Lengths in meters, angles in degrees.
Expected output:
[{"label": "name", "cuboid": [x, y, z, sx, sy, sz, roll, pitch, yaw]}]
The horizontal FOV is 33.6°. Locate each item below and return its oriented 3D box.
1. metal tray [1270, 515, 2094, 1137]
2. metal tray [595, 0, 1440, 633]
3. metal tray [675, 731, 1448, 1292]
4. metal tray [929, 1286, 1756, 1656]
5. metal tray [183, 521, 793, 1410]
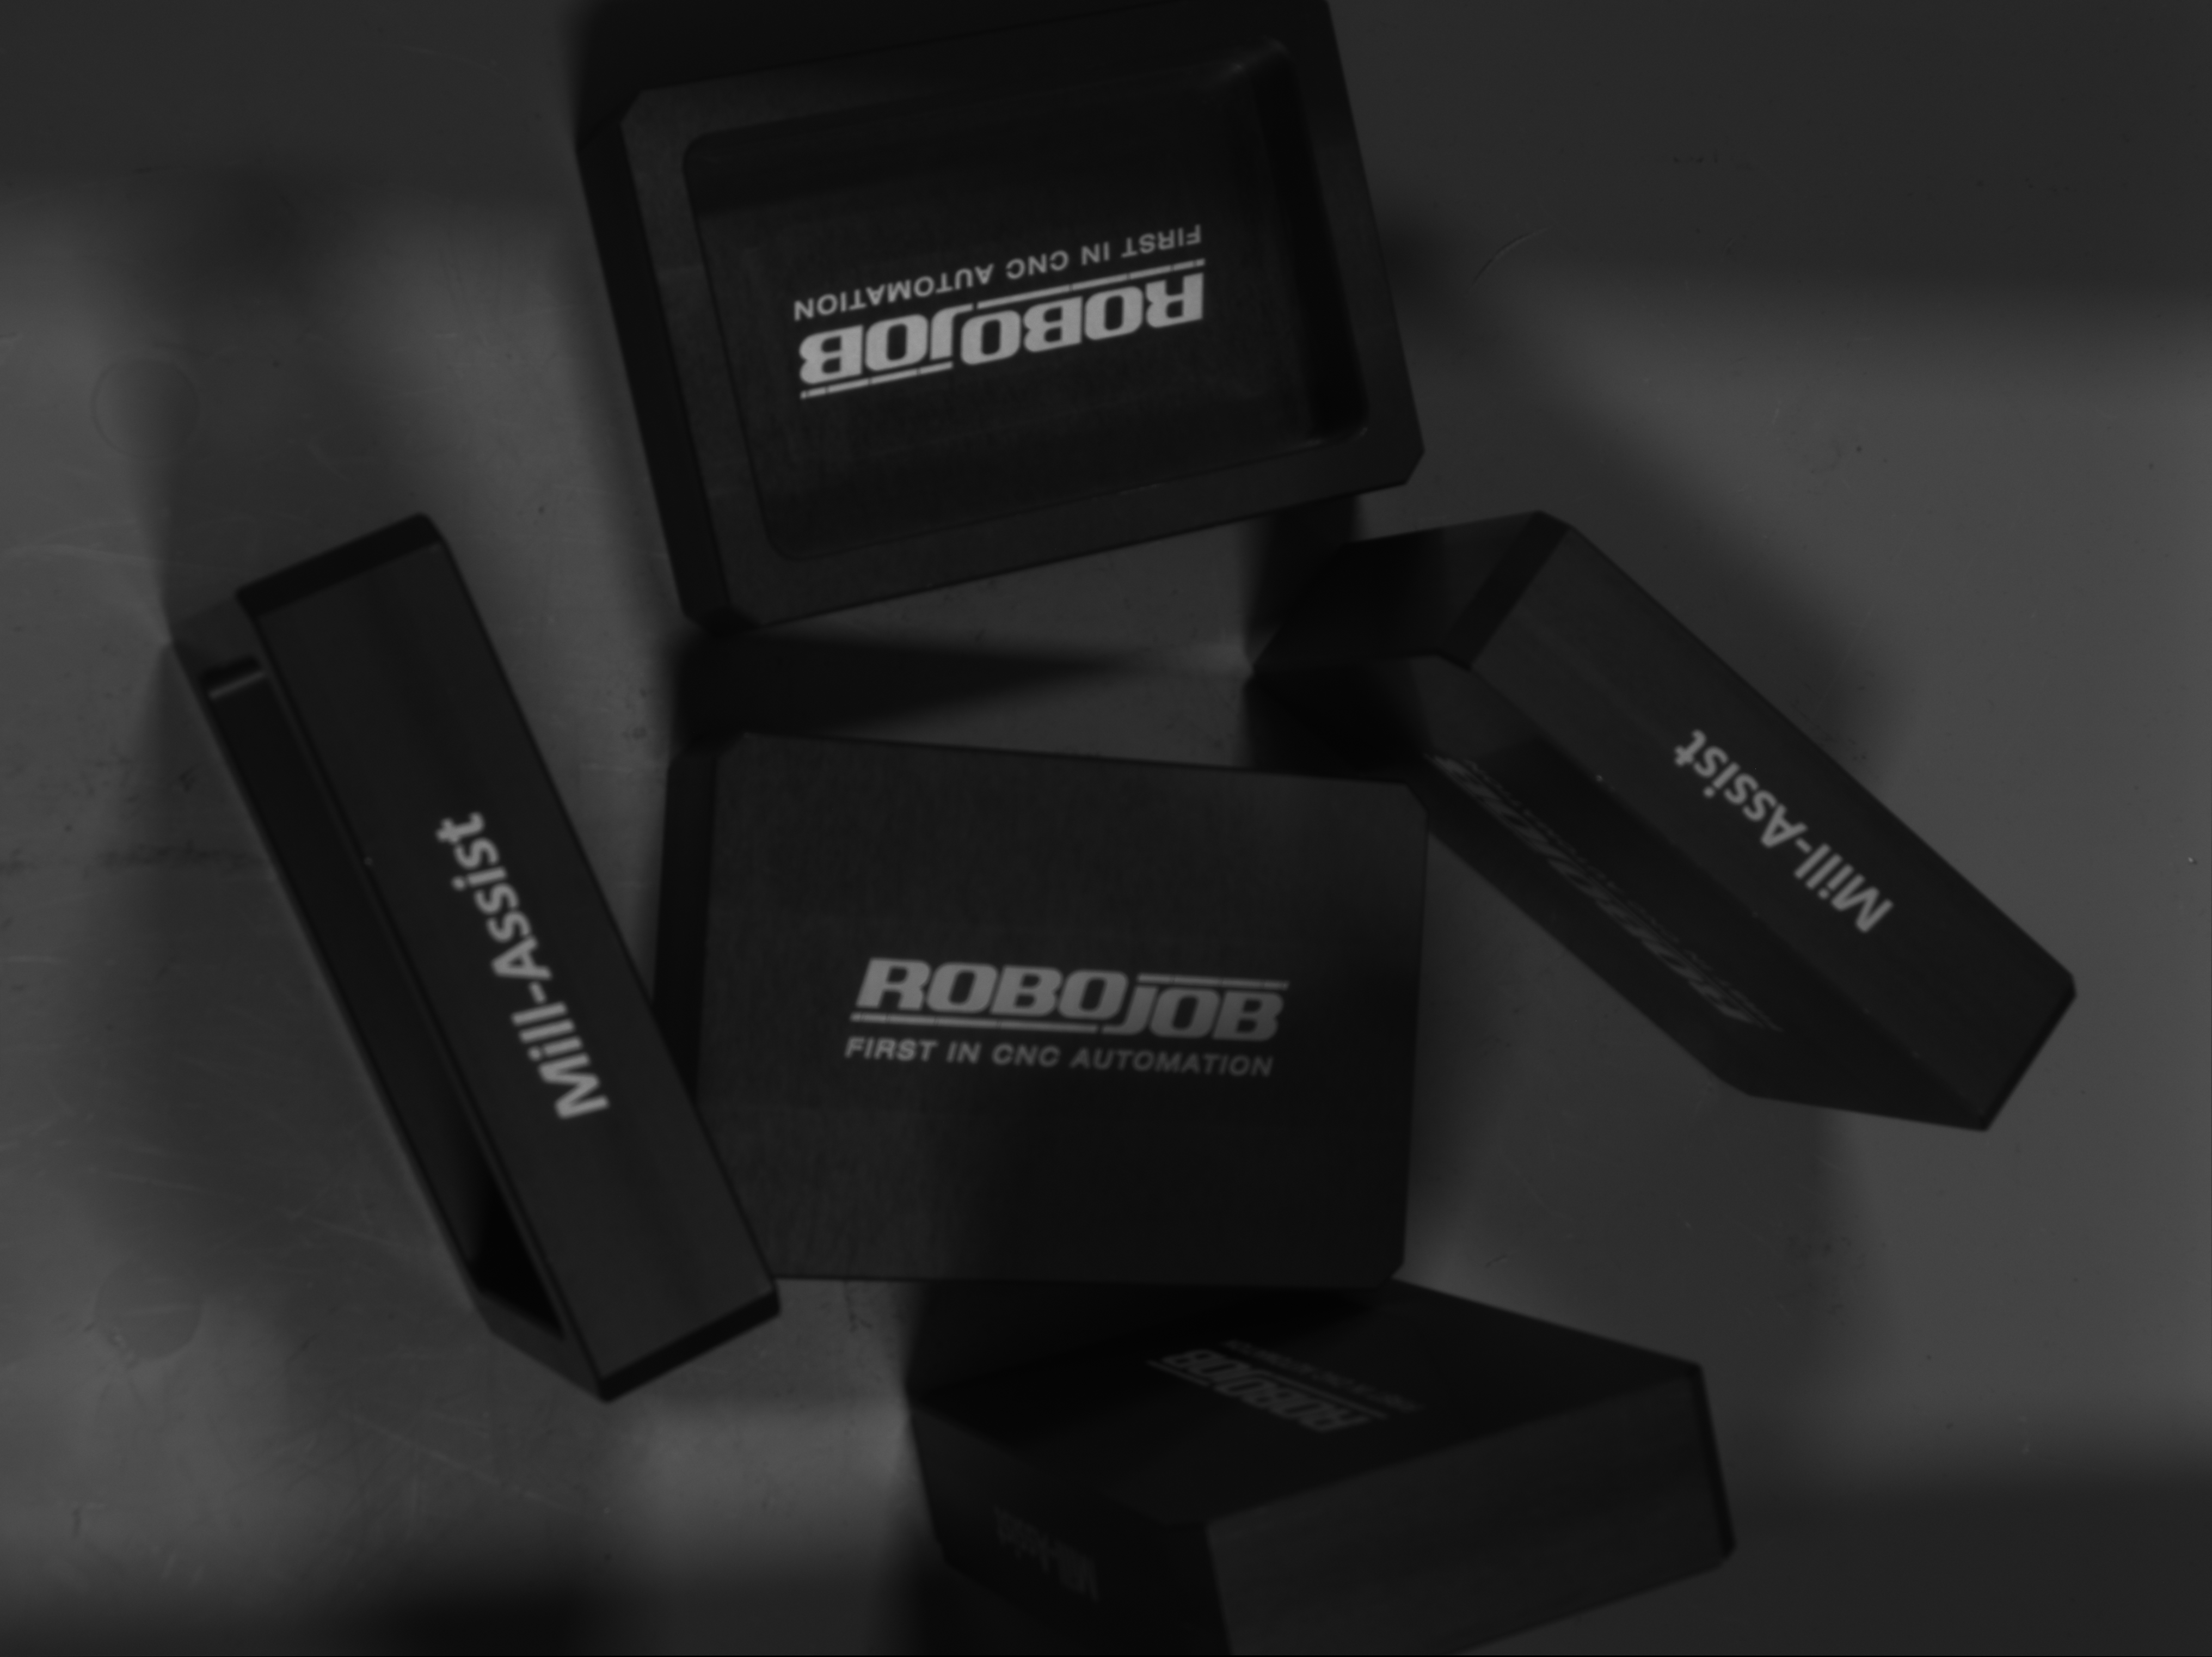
[{"label": "metal tray", "cuboid": [0.099, 0.000, 0.643, 0.130, 0.090, 0.030, 40, 78, -15]}, {"label": "metal tray", "cuboid": [-0.014, -0.091, 0.634, 0.130, 0.030, 0.090, -14, 95, -19]}, {"label": "metal tray", "cuboid": [-0.008, 0.033, 0.635, 0.130, 0.030, 0.090, 4, 89, -20]}, {"label": "metal tray", "cuboid": [0.034, 0.106, 0.597, 0.090, 0.130, 0.030, -13, 95, -20]}, {"label": "metal tray", "cuboid": [-0.098, 0.021, 0.571, 0.030, 0.090, 0.130, -26, 99, -19]}]
